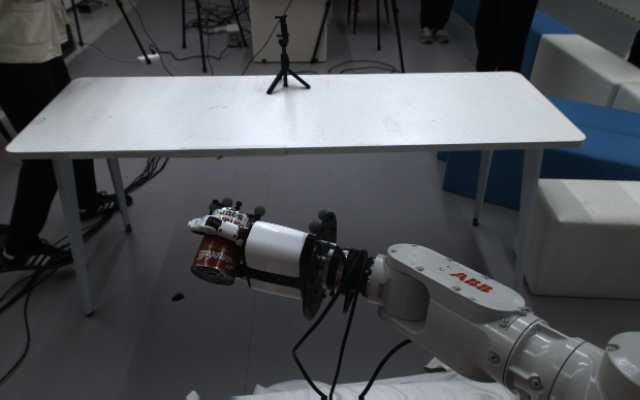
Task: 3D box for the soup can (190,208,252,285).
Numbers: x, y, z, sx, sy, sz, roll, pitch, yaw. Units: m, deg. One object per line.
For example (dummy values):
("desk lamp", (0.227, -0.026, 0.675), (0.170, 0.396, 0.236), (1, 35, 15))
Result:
("soup can", (-0.147, 0.071, 0.733), (0.067, 0.067, 0.101), (9, 58, 10))
